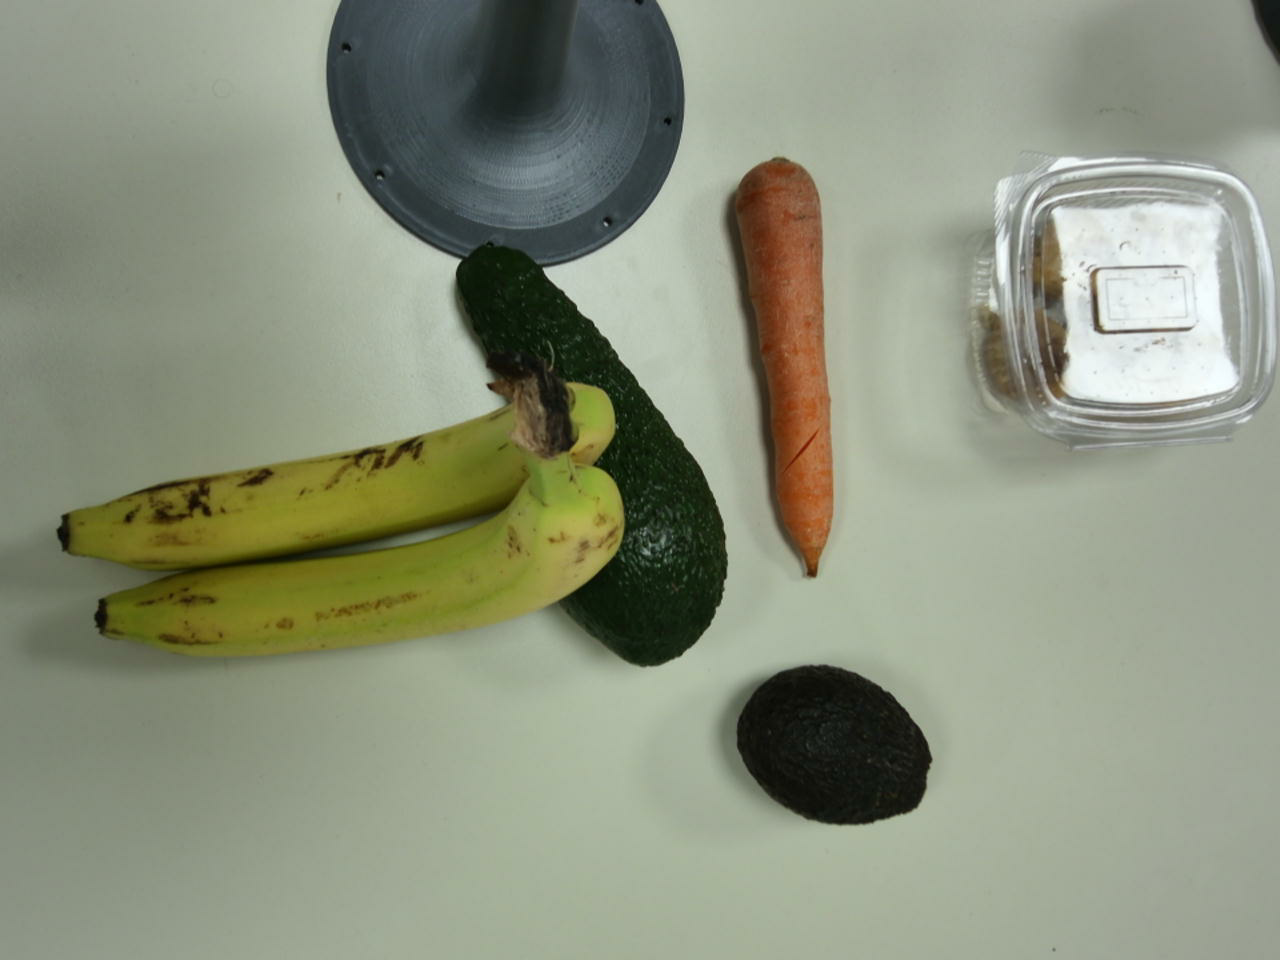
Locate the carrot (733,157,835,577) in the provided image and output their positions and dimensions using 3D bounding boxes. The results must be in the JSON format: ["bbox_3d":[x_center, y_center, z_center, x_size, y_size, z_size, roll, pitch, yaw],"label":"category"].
[{"bbox_3d":[0.075,-0.049,0.465,0.039,0.041,0.196,-9,92,-12],"label":"carrot"}]
